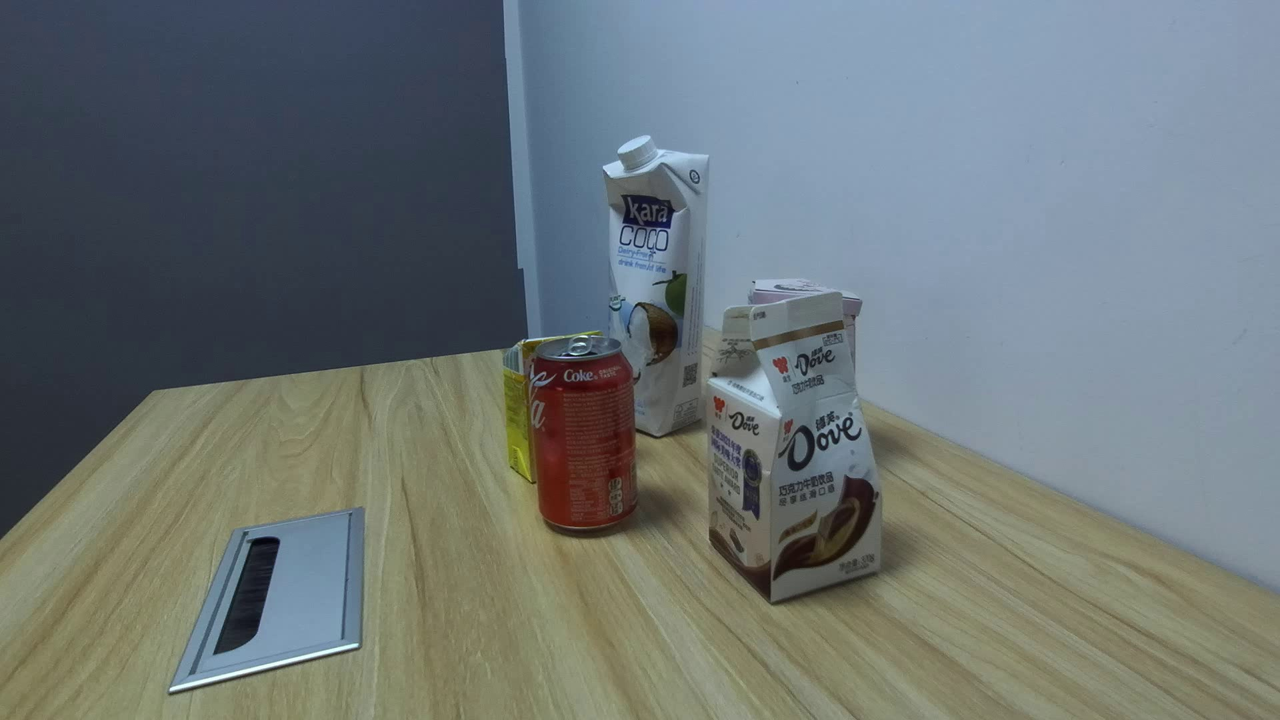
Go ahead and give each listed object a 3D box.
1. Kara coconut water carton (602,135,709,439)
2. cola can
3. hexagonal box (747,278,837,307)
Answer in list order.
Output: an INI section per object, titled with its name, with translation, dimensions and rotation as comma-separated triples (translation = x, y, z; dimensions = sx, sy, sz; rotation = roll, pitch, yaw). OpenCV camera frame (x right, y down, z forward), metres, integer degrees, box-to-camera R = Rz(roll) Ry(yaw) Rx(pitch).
[Kara coconut water carton]
translation = 0.014, -0.062, 0.599
dimensions = 0.099, 0.244, 0.071
rotation = 12, 21, 41
[cola can]
translation = -0.037, 0.046, 0.459
dimensions = 0.068, 0.120, 0.068
rotation = -3, 16, 1
[hexagonal box]
translation = 0.123, 0.008, 0.548
dimensions = 0.091, 0.135, 0.085
rotation = 12, 19, 39
